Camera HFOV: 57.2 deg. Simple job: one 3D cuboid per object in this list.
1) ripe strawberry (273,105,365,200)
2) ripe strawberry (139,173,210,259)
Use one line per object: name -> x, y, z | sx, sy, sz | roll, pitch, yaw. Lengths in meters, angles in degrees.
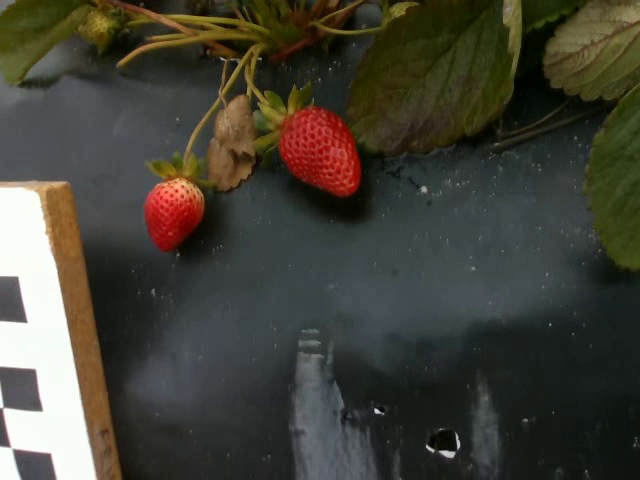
ripe strawberry -> 0.001, -0.041, 0.271 | 0.041, 0.059, 0.044 | -6, -37, -52
ripe strawberry -> -0.074, -0.014, 0.283 | 0.036, 0.041, 0.027 | 2, -4, 23
